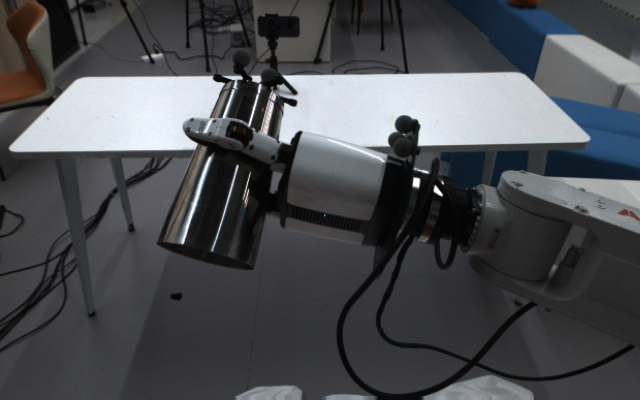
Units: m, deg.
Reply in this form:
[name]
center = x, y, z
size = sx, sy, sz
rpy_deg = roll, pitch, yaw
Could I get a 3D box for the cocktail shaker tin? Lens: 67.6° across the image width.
[cocktail shaker tin]
center = -0.086, -0.025, 0.471
size = 0.093, 0.093, 0.170
rpy_deg = 10, 73, 12
